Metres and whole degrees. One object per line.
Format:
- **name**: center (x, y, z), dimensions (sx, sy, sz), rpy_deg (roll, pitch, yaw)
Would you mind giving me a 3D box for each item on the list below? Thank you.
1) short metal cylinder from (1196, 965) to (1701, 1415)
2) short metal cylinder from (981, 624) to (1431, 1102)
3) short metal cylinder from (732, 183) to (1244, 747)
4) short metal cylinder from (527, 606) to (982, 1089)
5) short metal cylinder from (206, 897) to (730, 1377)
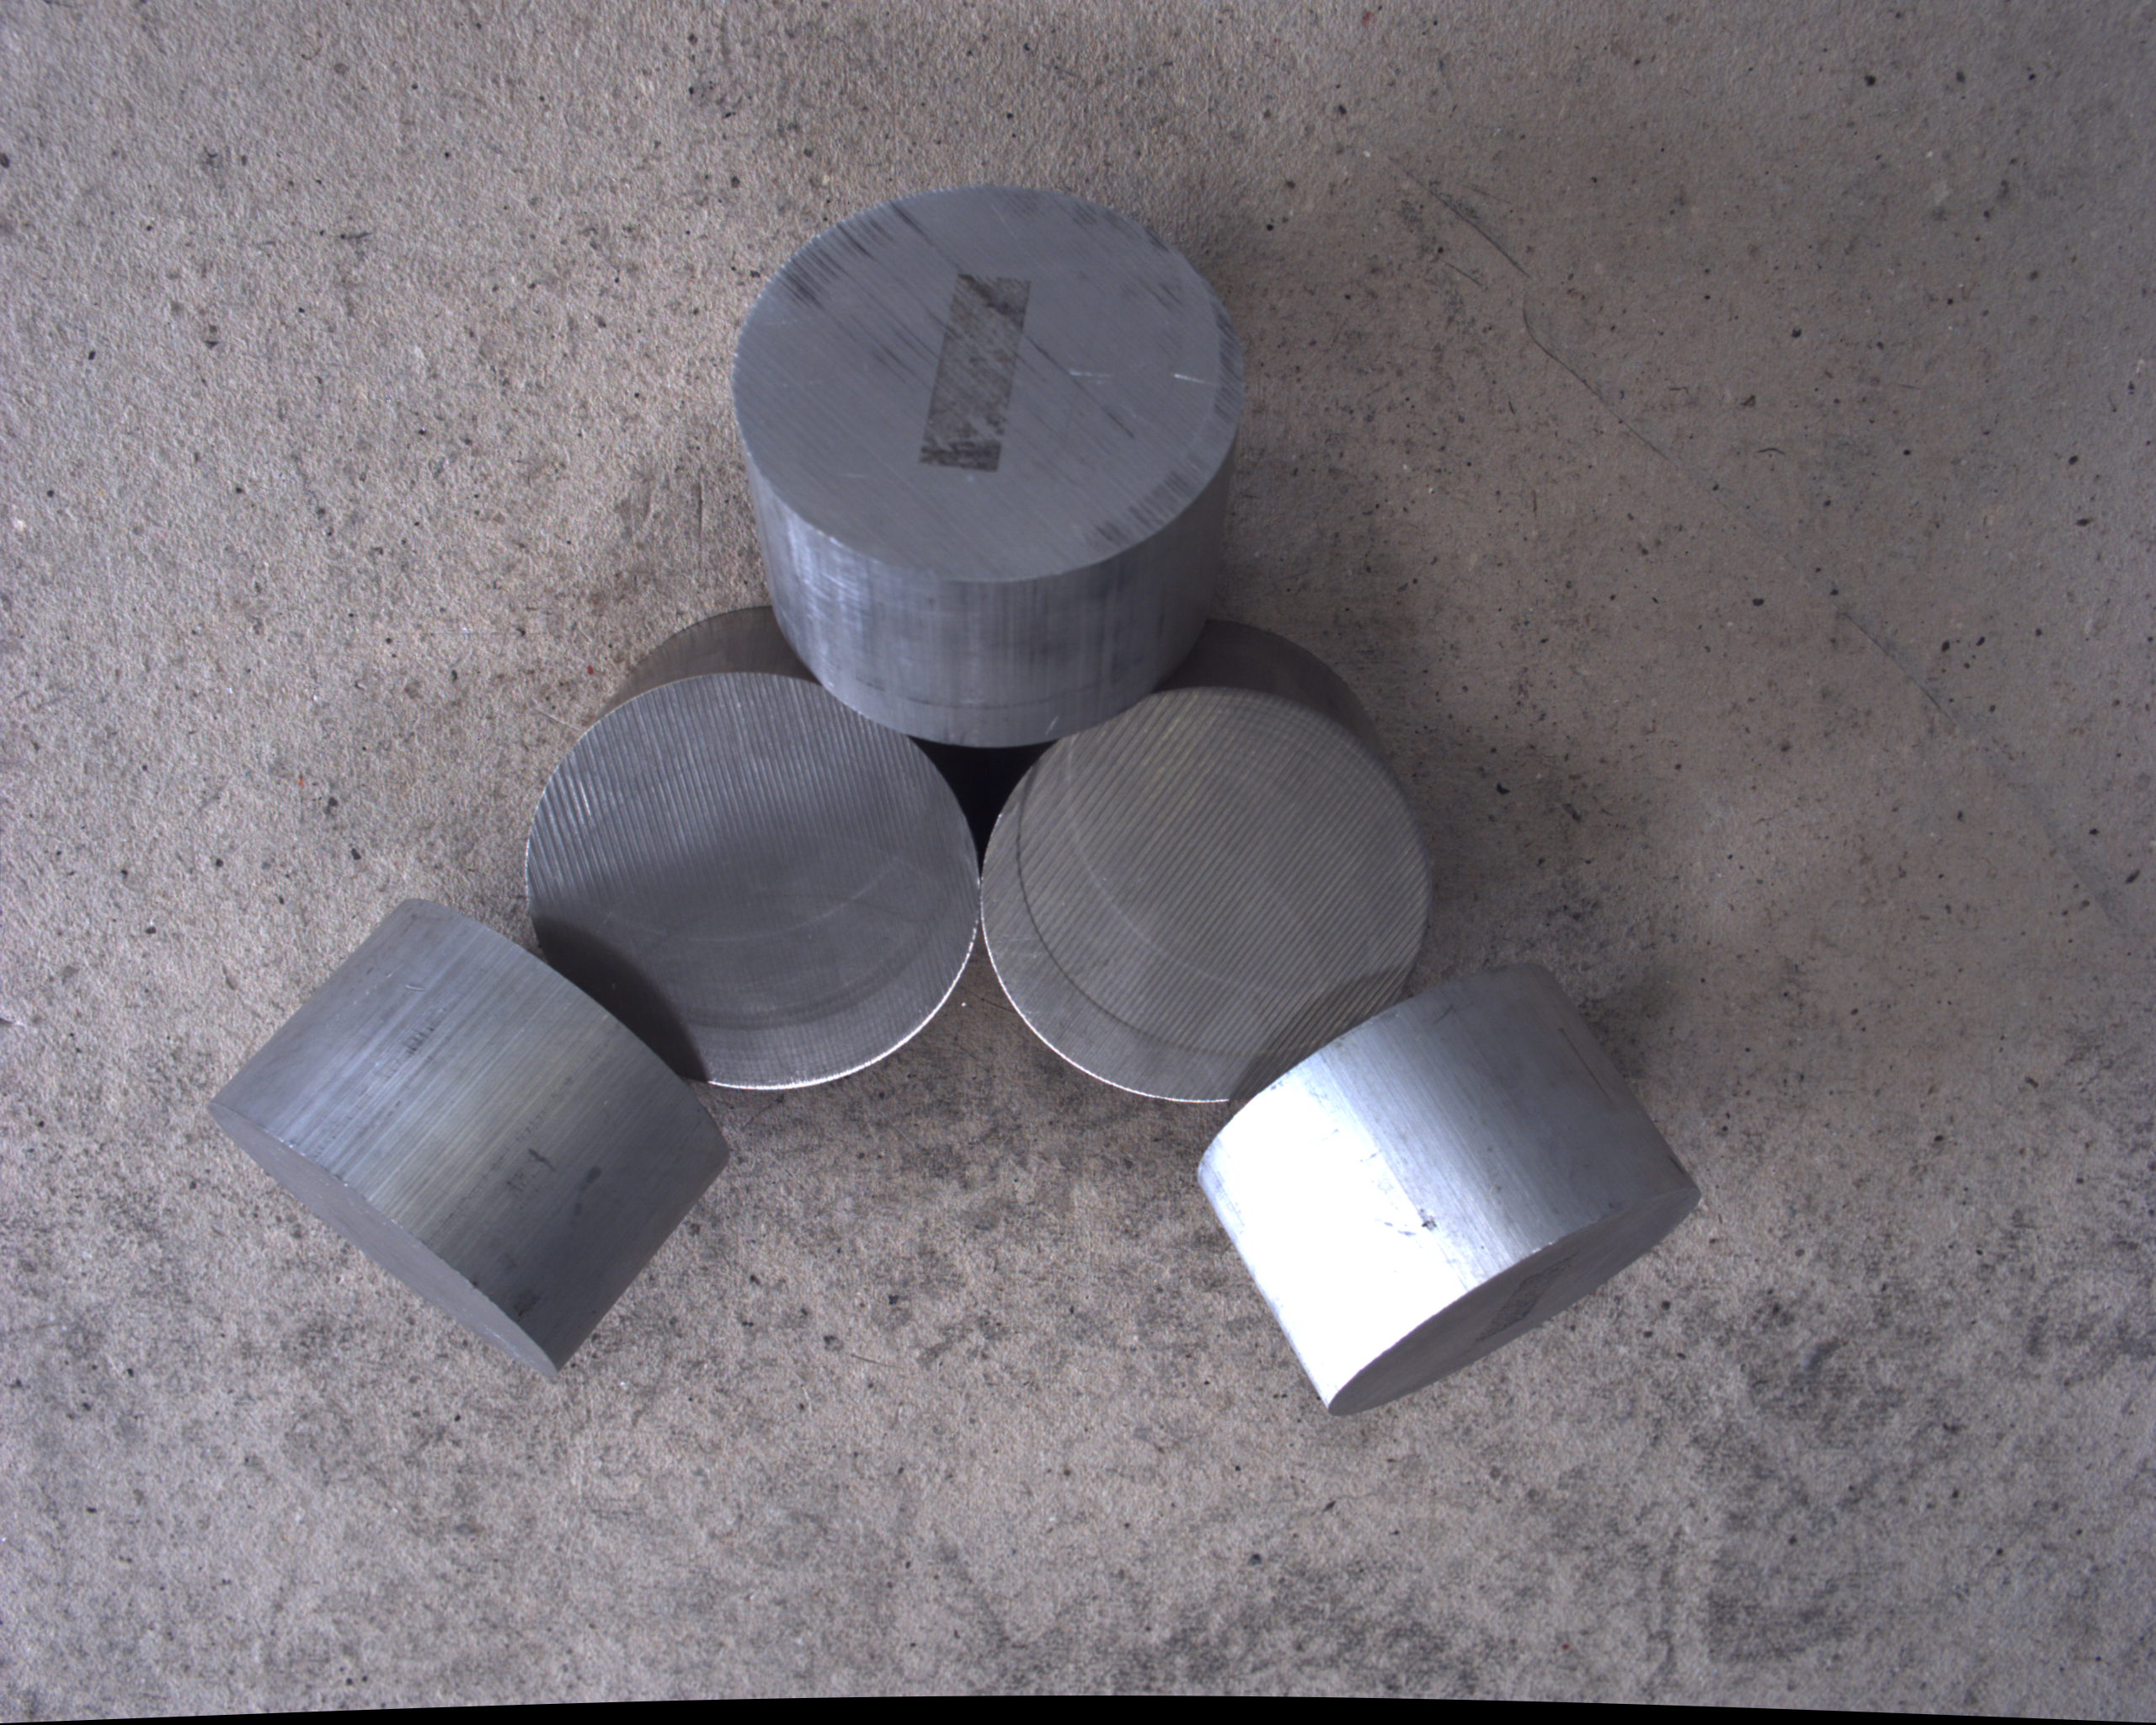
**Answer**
- **short metal cylinder**: center (0.070, 0.063, 0.399), dimensions (0.080, 0.080, 0.050), rpy_deg (-35, 65, 12)
- **short metal cylinder**: center (0.023, -0.001, 0.397), dimensions (0.081, 0.050, 0.079), rpy_deg (0, 110, 0)
- **short metal cylinder**: center (-0.015, -0.066, 0.351), dimensions (0.081, 0.080, 0.050), rpy_deg (2, 153, -1)
- **short metal cylinder**: center (-0.058, -0.004, 0.395), dimensions (0.081, 0.050, 0.079), rpy_deg (0, 110, 0)
- **short metal cylinder**: center (-0.114, 0.052, 0.393), dimensions (0.080, 0.080, 0.050), rpy_deg (44, 64, -15)
